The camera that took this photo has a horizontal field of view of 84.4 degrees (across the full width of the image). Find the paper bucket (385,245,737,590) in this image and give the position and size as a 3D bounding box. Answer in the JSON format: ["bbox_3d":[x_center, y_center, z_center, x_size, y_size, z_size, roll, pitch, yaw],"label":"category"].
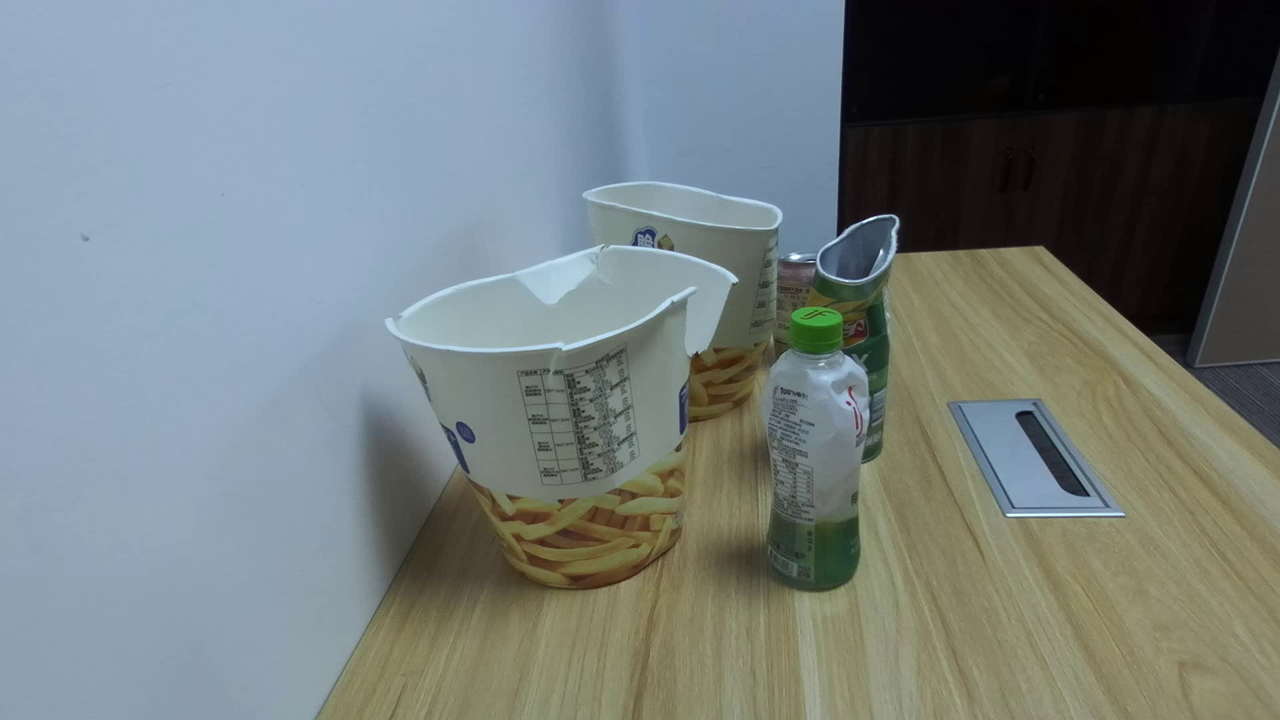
[{"bbox_3d":[-0.042,0.038,0.511,0.203,0.197,0.145,-26,35,-30],"label":"paper bucket"}]

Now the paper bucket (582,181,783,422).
[{"bbox_3d":[0.036,-0.062,0.680,0.217,0.199,0.148,6,29,21],"label":"paper bucket"}]

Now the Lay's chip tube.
[{"bbox_3d":[0.166,-0.008,0.559,0.079,0.200,0.071,-9,35,-1],"label":"Lay's chip tube"}]

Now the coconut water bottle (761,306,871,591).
[{"bbox_3d":[0.113,0.057,0.453,0.067,0.187,0.067,-5,26,3],"label":"coconut water bottle"}]
